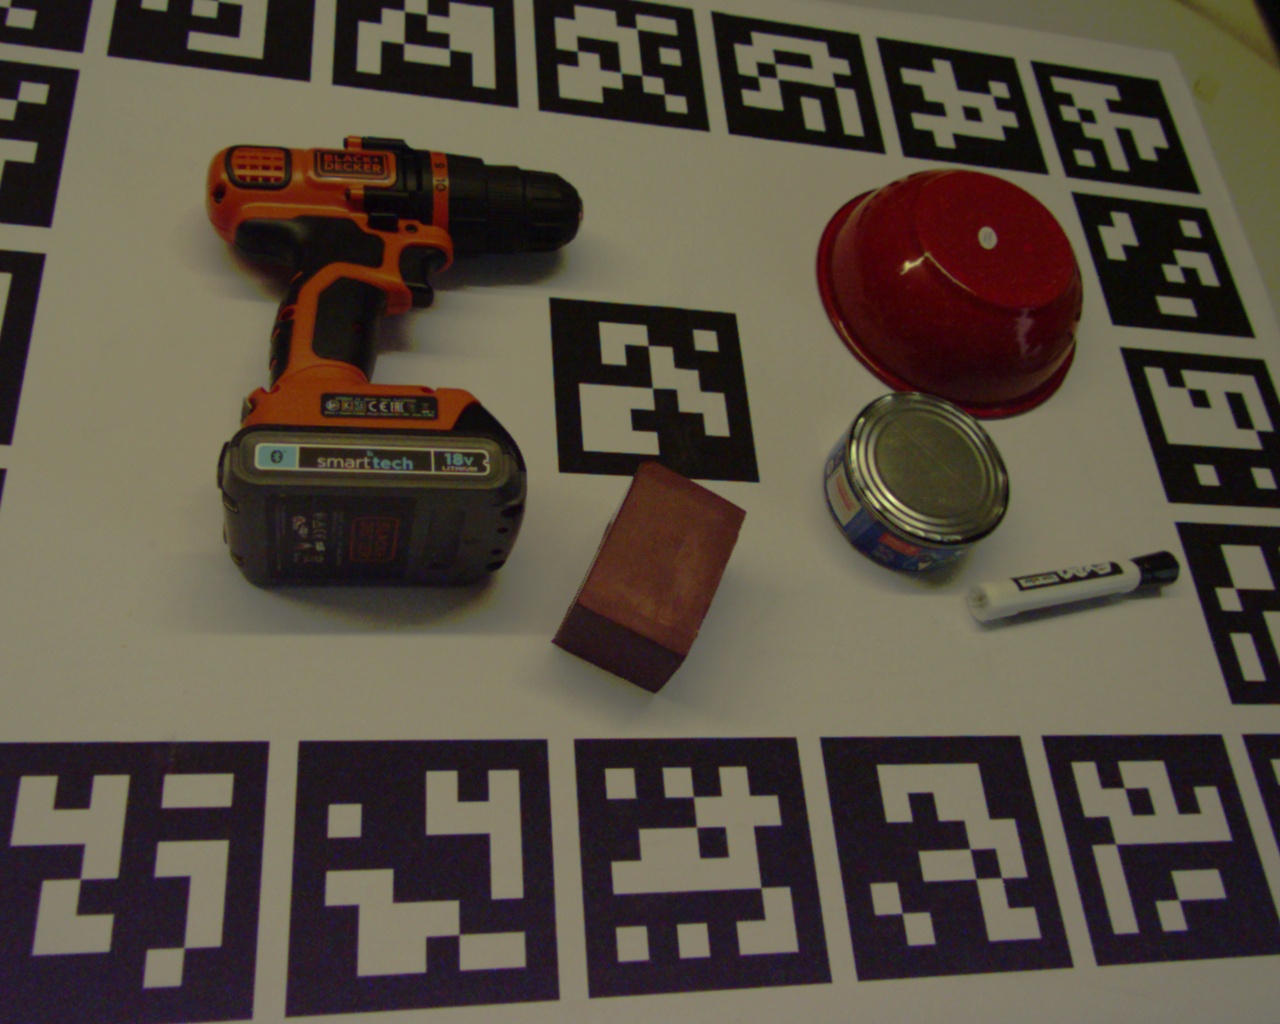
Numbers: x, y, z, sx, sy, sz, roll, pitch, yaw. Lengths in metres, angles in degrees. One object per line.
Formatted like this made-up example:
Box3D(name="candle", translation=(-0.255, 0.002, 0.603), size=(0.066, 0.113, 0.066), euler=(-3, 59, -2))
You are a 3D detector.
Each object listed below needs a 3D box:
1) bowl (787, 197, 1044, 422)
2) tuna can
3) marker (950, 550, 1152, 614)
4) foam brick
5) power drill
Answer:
Box3D(name="bowl", translation=(0.171, -0.132, 0.665), size=(0.161, 0.055, 0.162), euler=(5, 57, -9))
Box3D(name="tuna can", translation=(0.135, -0.016, 0.597), size=(0.085, 0.034, 0.086), euler=(7, 63, -15))
Box3D(name="marker", translation=(0.220, 0.036, 0.602), size=(0.120, 0.020, 0.020), euler=(-8, 68, -19))
Box3D(name="foam brick", translation=(0.002, 0.034, 0.534), size=(0.051, 0.053, 0.078), euler=(24, 62, -5))
Box3D(name="power drill", translation=(-0.118, -0.074, 0.549), size=(0.183, 0.057, 0.188), euler=(2, 61, -18))
